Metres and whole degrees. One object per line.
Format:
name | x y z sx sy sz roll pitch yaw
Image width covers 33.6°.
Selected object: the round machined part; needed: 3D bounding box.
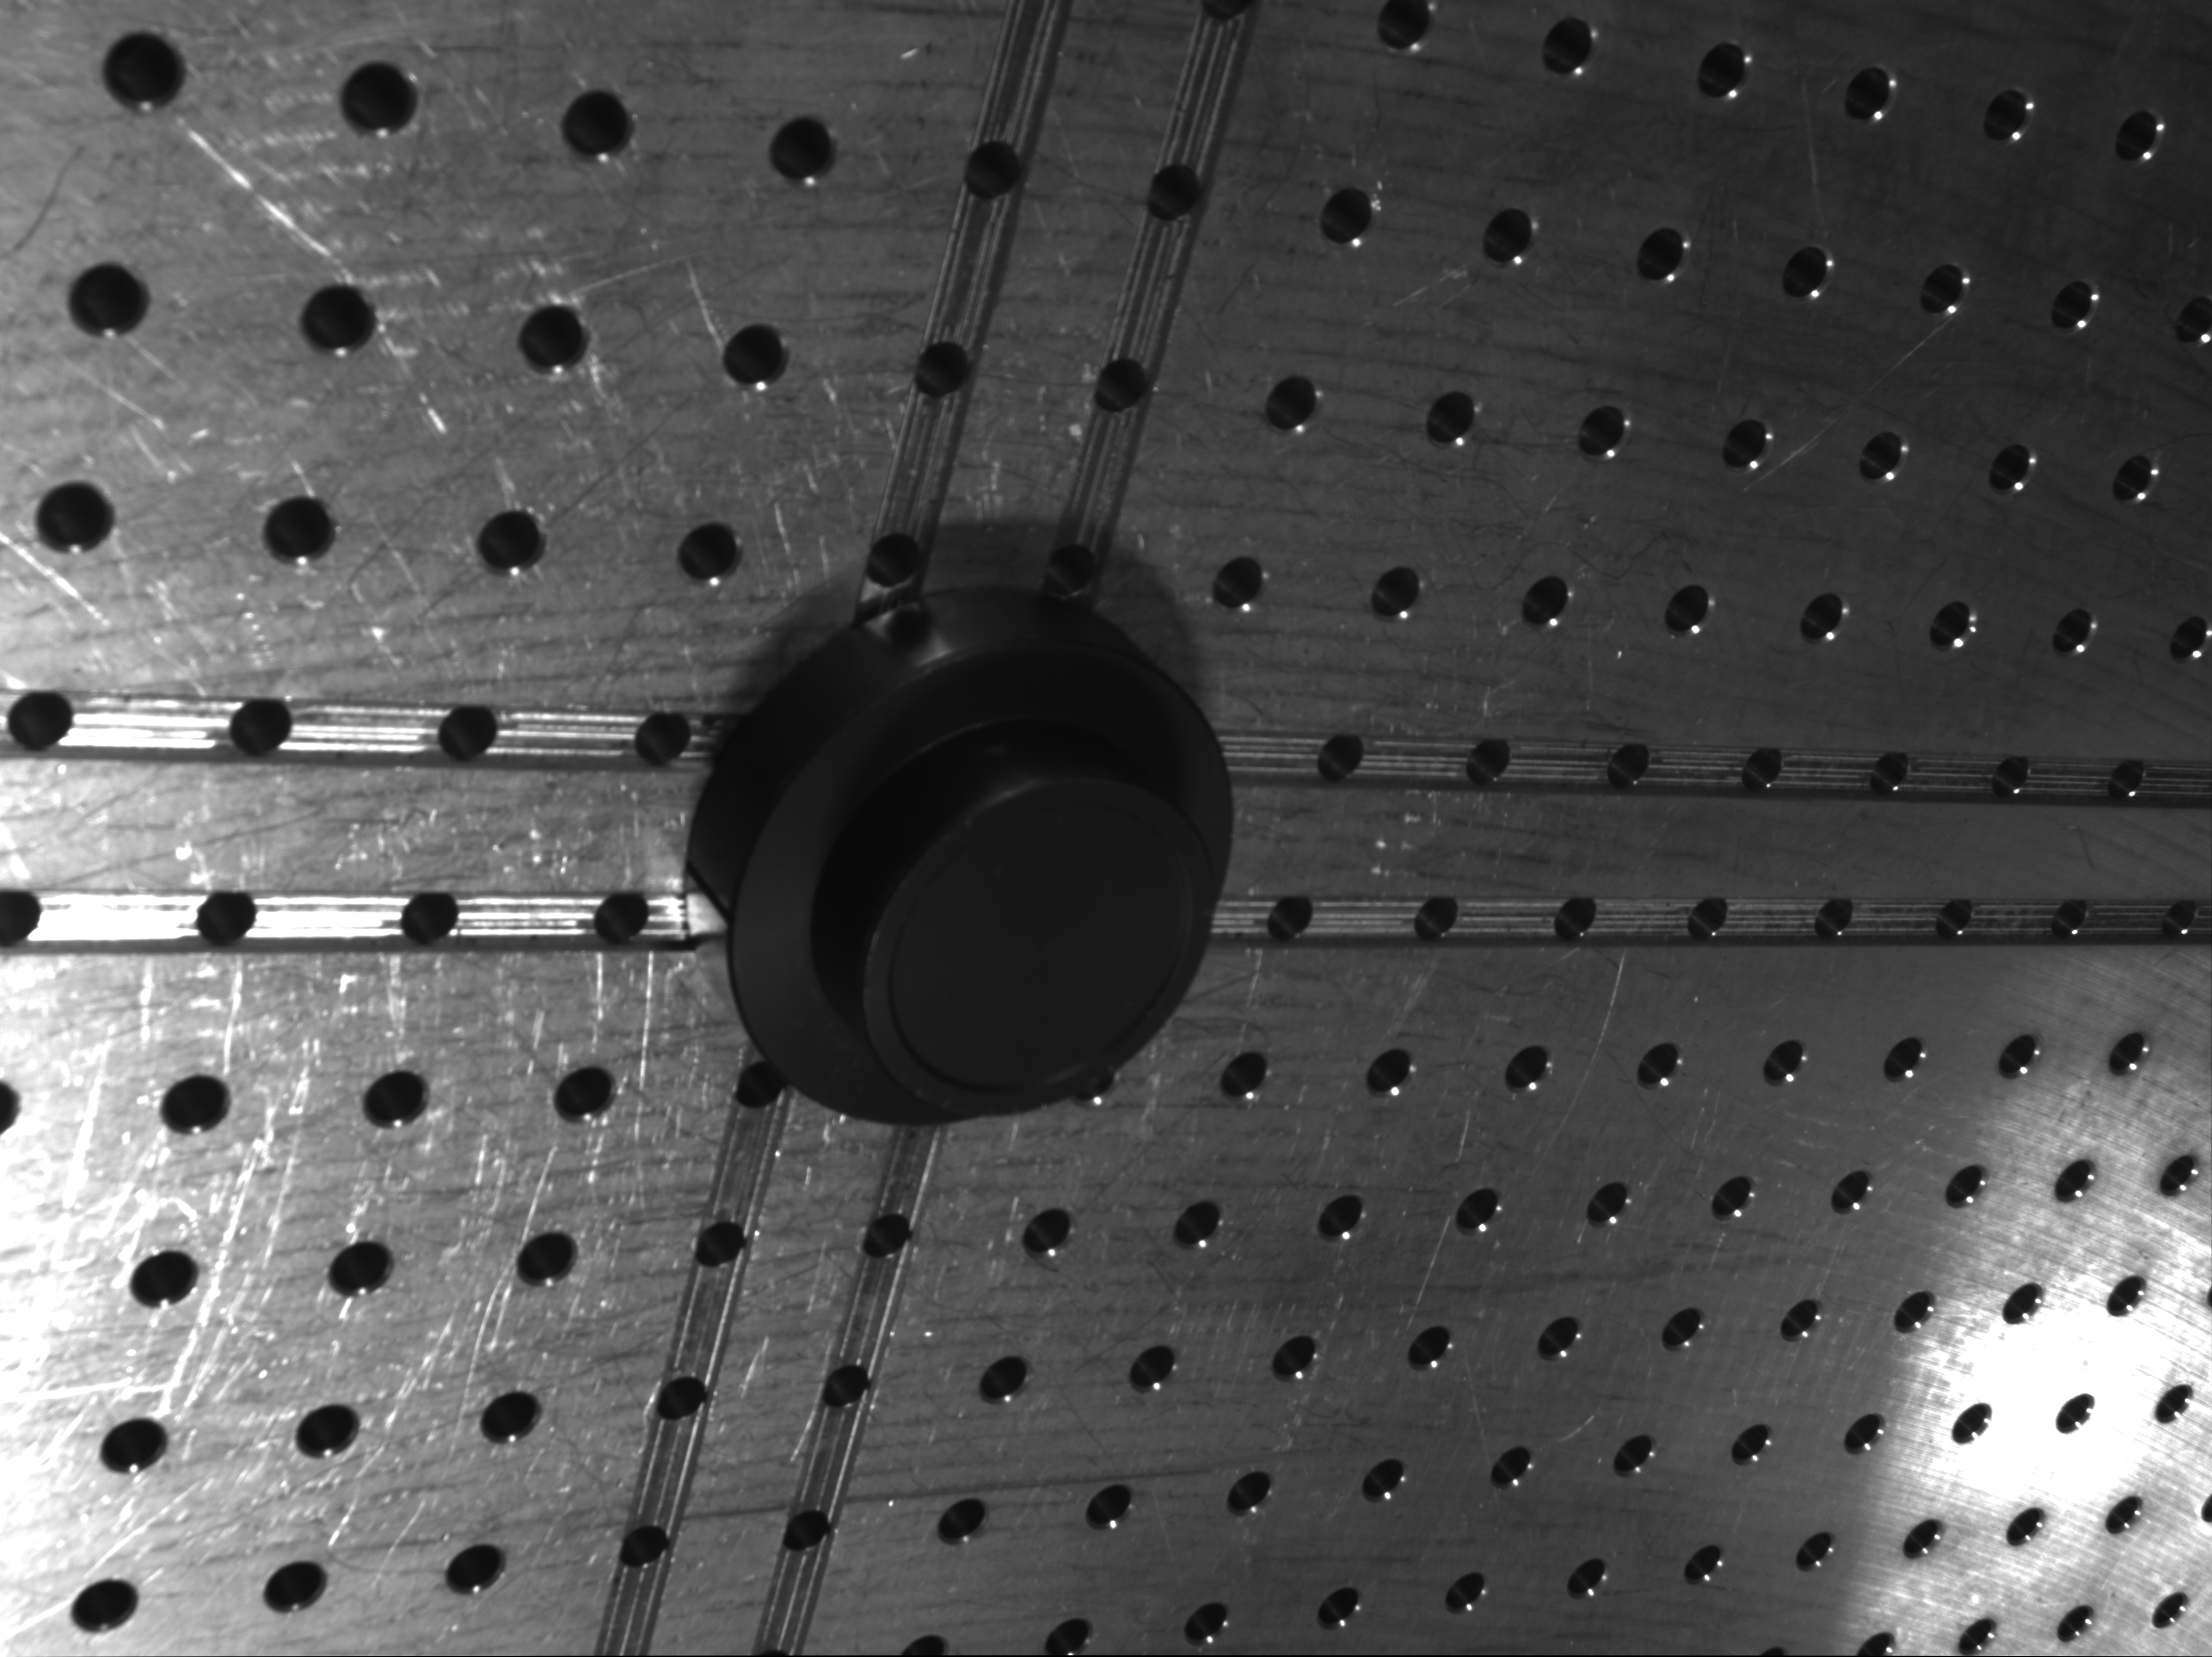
round machined part | -0.013 0.012 0.642 0.098 0.042 0.098 -15 125 -22
